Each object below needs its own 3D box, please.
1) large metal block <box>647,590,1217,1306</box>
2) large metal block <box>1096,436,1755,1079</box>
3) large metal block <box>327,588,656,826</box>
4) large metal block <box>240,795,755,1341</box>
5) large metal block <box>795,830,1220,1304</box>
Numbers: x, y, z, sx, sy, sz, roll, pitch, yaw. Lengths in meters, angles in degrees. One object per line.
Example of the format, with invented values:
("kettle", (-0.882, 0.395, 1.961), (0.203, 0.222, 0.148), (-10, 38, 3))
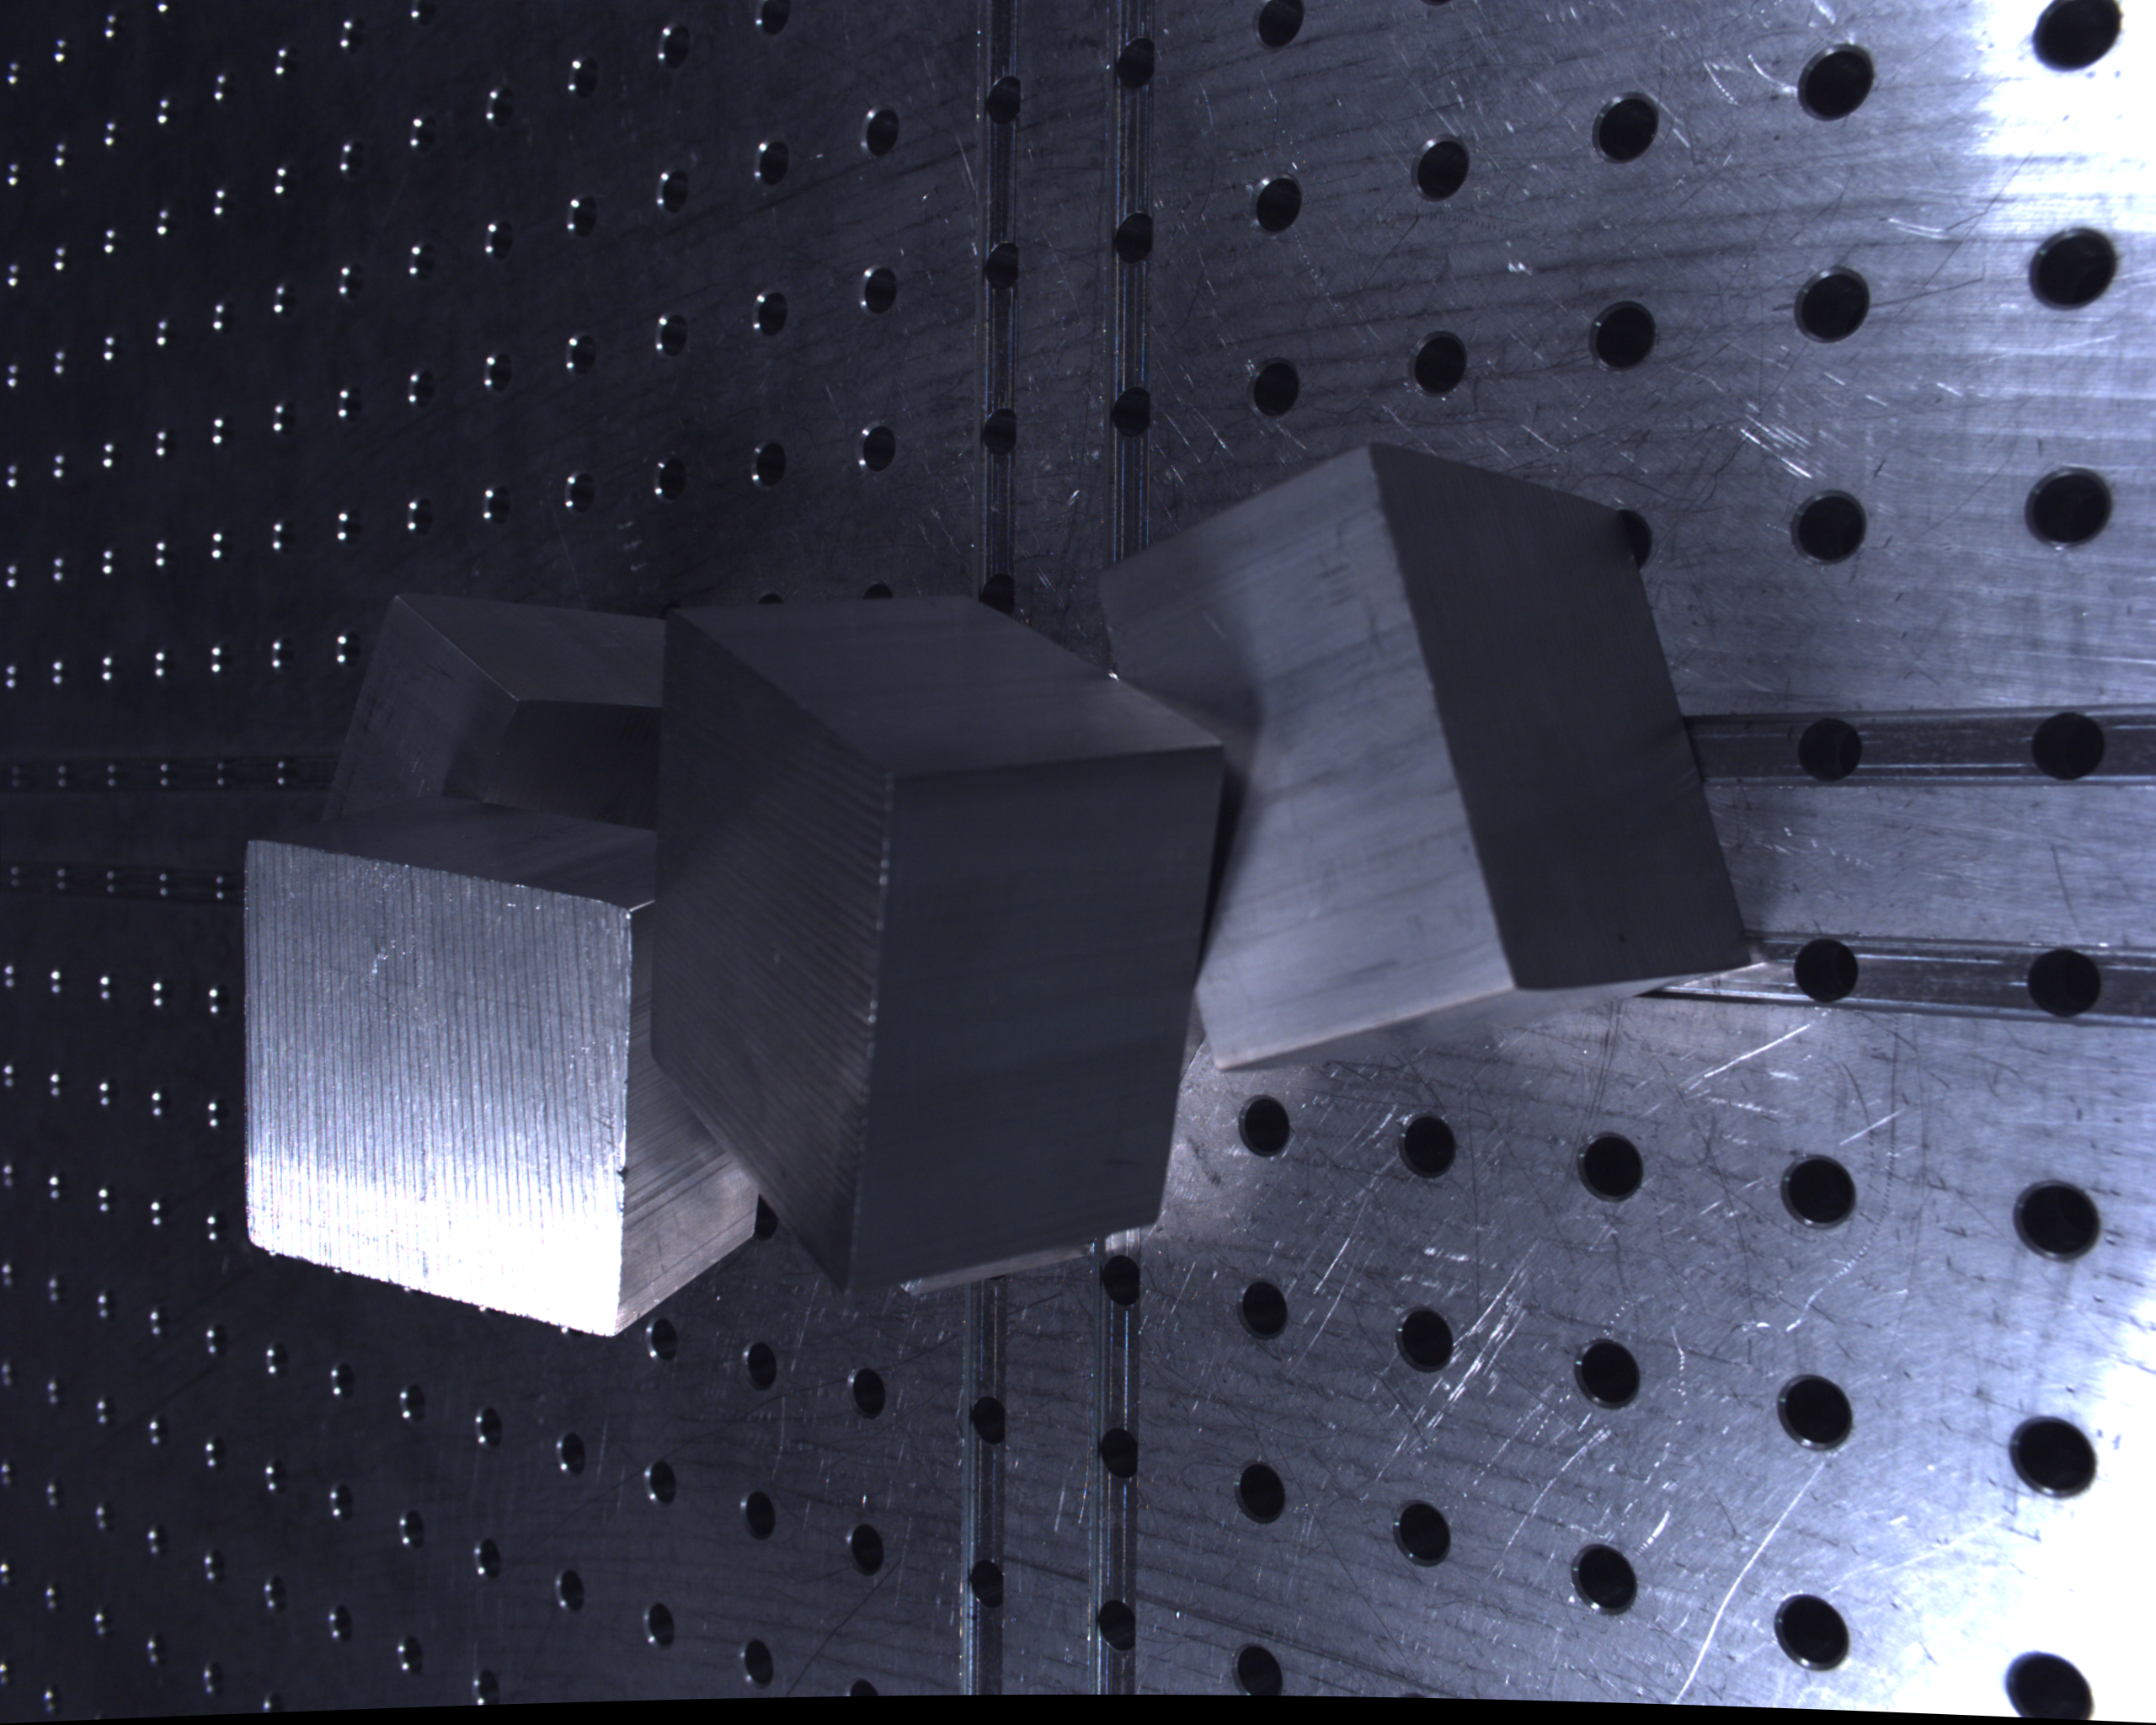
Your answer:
("large metal block", (-0.027, 0.008, 0.323), (0.080, 0.050, 0.079), (35, 126, 50))
("large metal block", (0.056, -0.014, 0.326), (0.050, 0.081, 0.080), (-21, 77, 38))
("large metal block", (-0.117, -0.011, 0.466), (0.050, 0.081, 0.079), (37, 112, 33))
("large metal block", (-0.107, 0.035, 0.394), (0.080, 0.050, 0.079), (9, 104, 18))
("large metal block", (-0.024, 0.026, 0.410), (0.080, 0.050, 0.079), (39, 114, 32))
